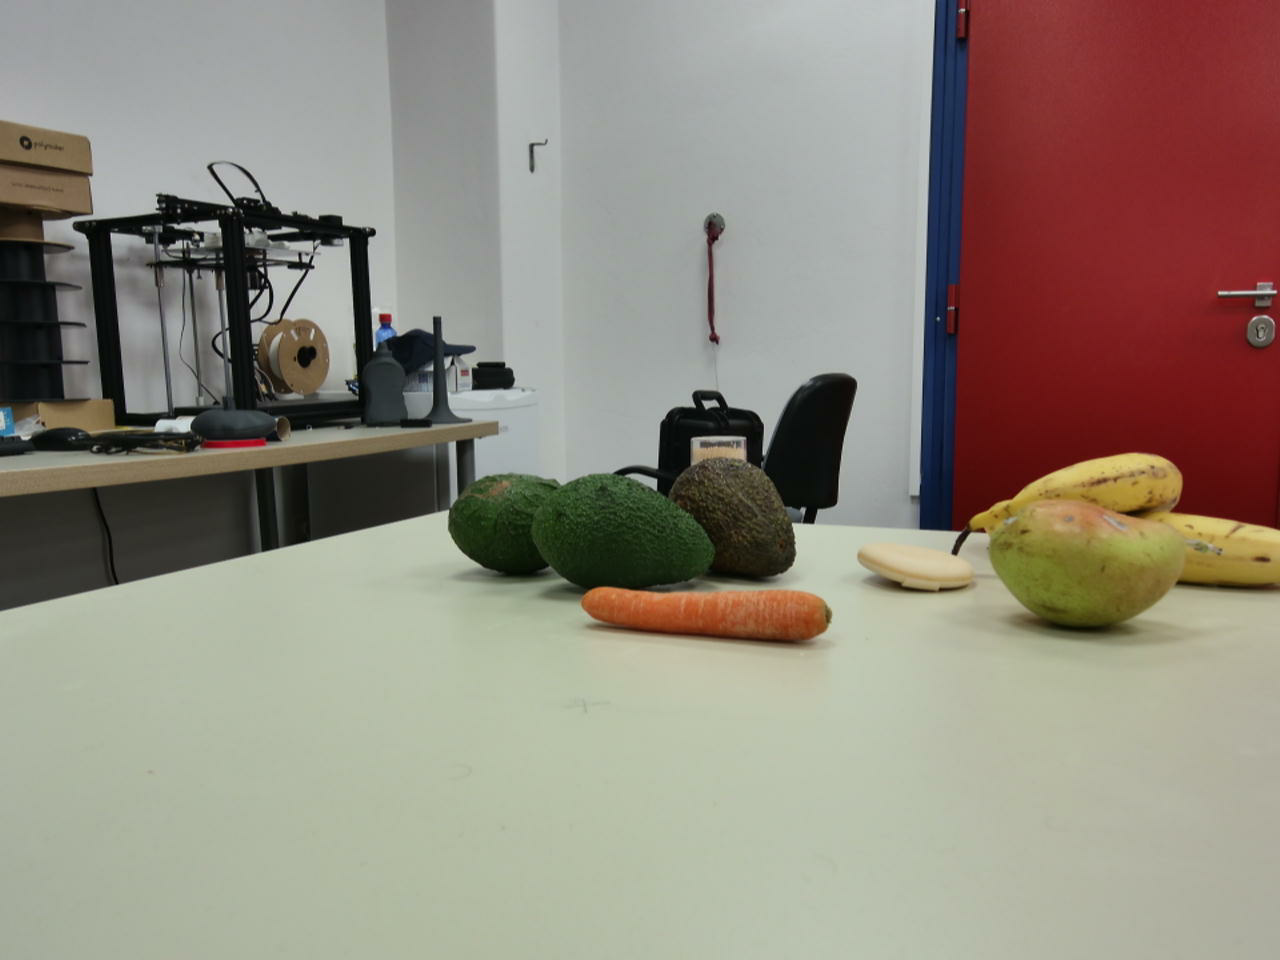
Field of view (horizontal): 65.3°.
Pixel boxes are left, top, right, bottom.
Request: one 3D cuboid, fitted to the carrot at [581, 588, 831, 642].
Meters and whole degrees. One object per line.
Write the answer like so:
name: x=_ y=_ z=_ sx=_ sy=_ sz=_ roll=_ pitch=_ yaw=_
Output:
carrot: x=0.029 y=0.062 z=0.474 sx=0.122 sy=0.023 sz=0.024 roll=2 pitch=4 yaw=22
